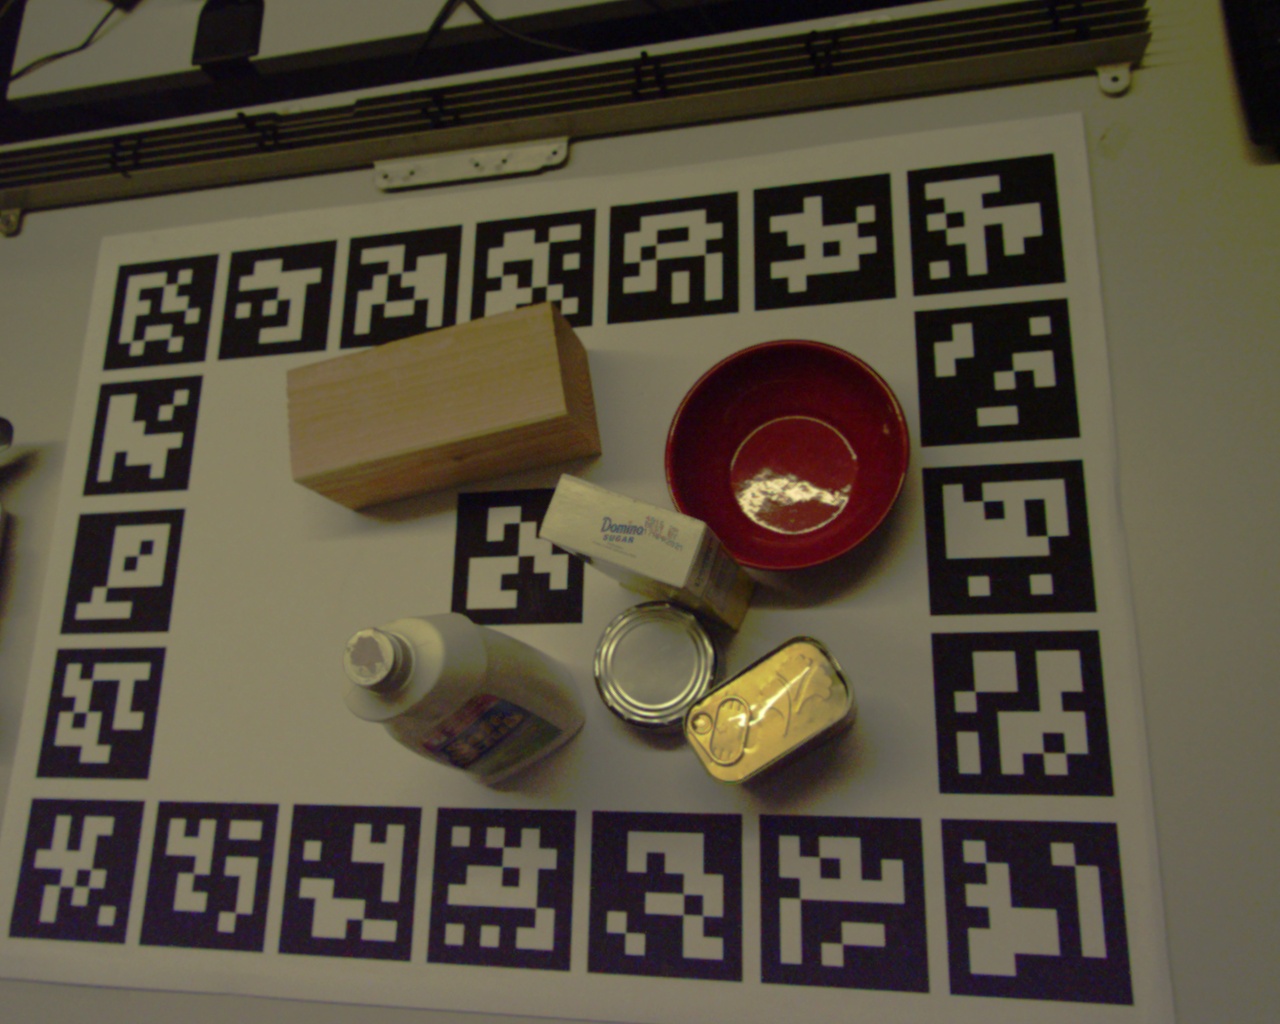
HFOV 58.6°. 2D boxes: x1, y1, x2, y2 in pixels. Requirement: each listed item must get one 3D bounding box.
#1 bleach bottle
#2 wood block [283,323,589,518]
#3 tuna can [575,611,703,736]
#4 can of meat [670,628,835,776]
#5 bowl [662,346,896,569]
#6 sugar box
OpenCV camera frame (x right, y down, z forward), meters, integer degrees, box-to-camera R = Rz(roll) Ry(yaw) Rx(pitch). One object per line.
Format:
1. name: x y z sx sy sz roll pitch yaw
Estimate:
1. bleach bottle: -0.122 0.114 0.717 0.103 0.248 0.068 -28 68 6
2. wood block: -0.155 -0.066 0.868 0.207 0.089 0.091 -12 76 11
3. tuna can: 0.000 0.113 0.795 0.086 0.033 0.086 -4 76 15
4. can of meat: 0.079 0.129 0.748 0.102 0.083 0.058 -32 66 3
5. bowl: 0.100 -0.032 0.801 0.163 0.054 0.162 -6 72 18
6. sugar box: 0.006 0.034 0.741 0.094 0.174 0.045 18 82 23
